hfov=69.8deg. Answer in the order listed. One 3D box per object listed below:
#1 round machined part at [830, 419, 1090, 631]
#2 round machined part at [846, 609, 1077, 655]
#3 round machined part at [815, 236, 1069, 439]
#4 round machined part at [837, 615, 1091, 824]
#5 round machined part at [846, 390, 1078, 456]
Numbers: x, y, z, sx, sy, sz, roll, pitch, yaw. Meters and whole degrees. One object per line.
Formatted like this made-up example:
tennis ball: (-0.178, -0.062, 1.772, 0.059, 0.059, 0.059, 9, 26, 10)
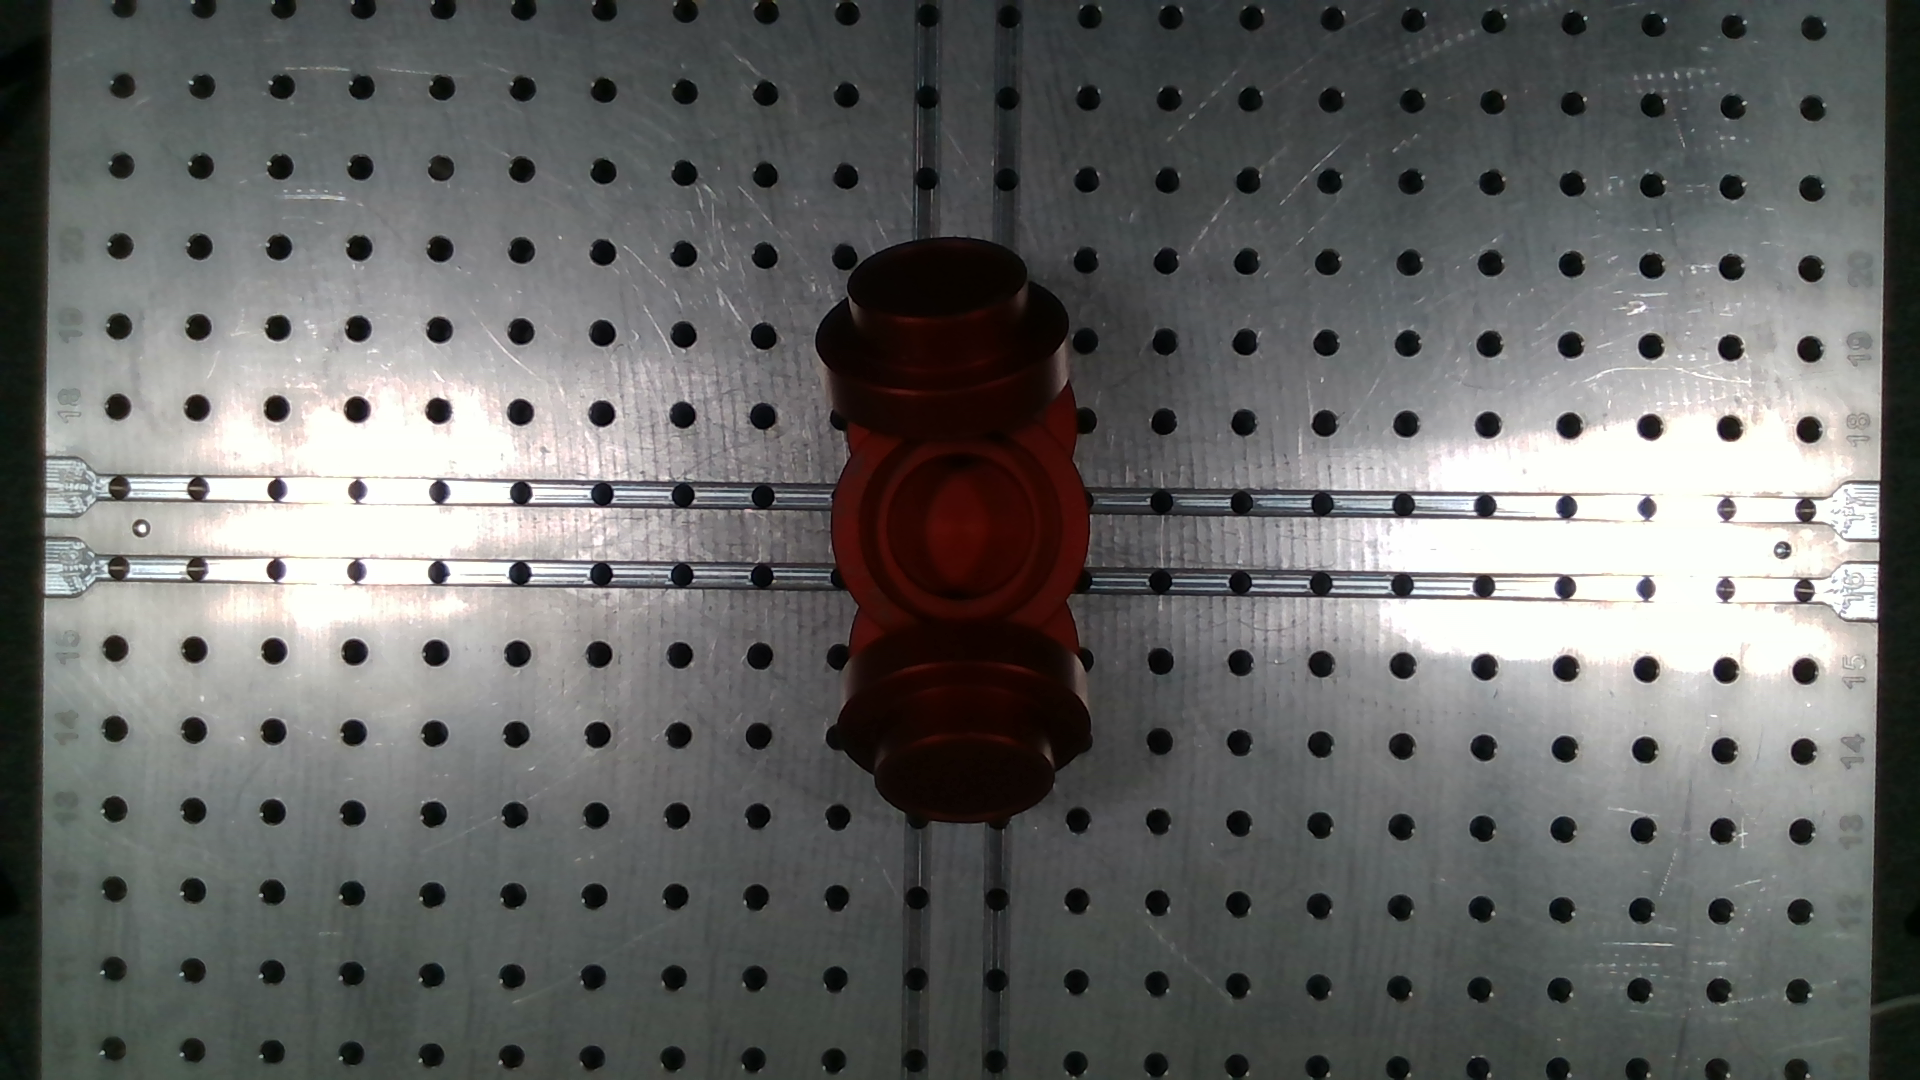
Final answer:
round machined part: (0.000, -0.005, 0.538, 0.098, 0.042, 0.098, 0, 90, 0)
round machined part: (0.001, 0.049, 0.581, 0.098, 0.042, 0.098, 0, 90, 0)
round machined part: (-0.007, -0.083, 0.529, 0.098, 0.098, 0.042, -6, 128, 0)
round machined part: (0.002, 0.075, 0.530, 0.098, 0.098, 0.042, 0, 50, 0)
round machined part: (0.001, -0.049, 0.580, 0.098, 0.042, 0.098, 0, 90, 0)
